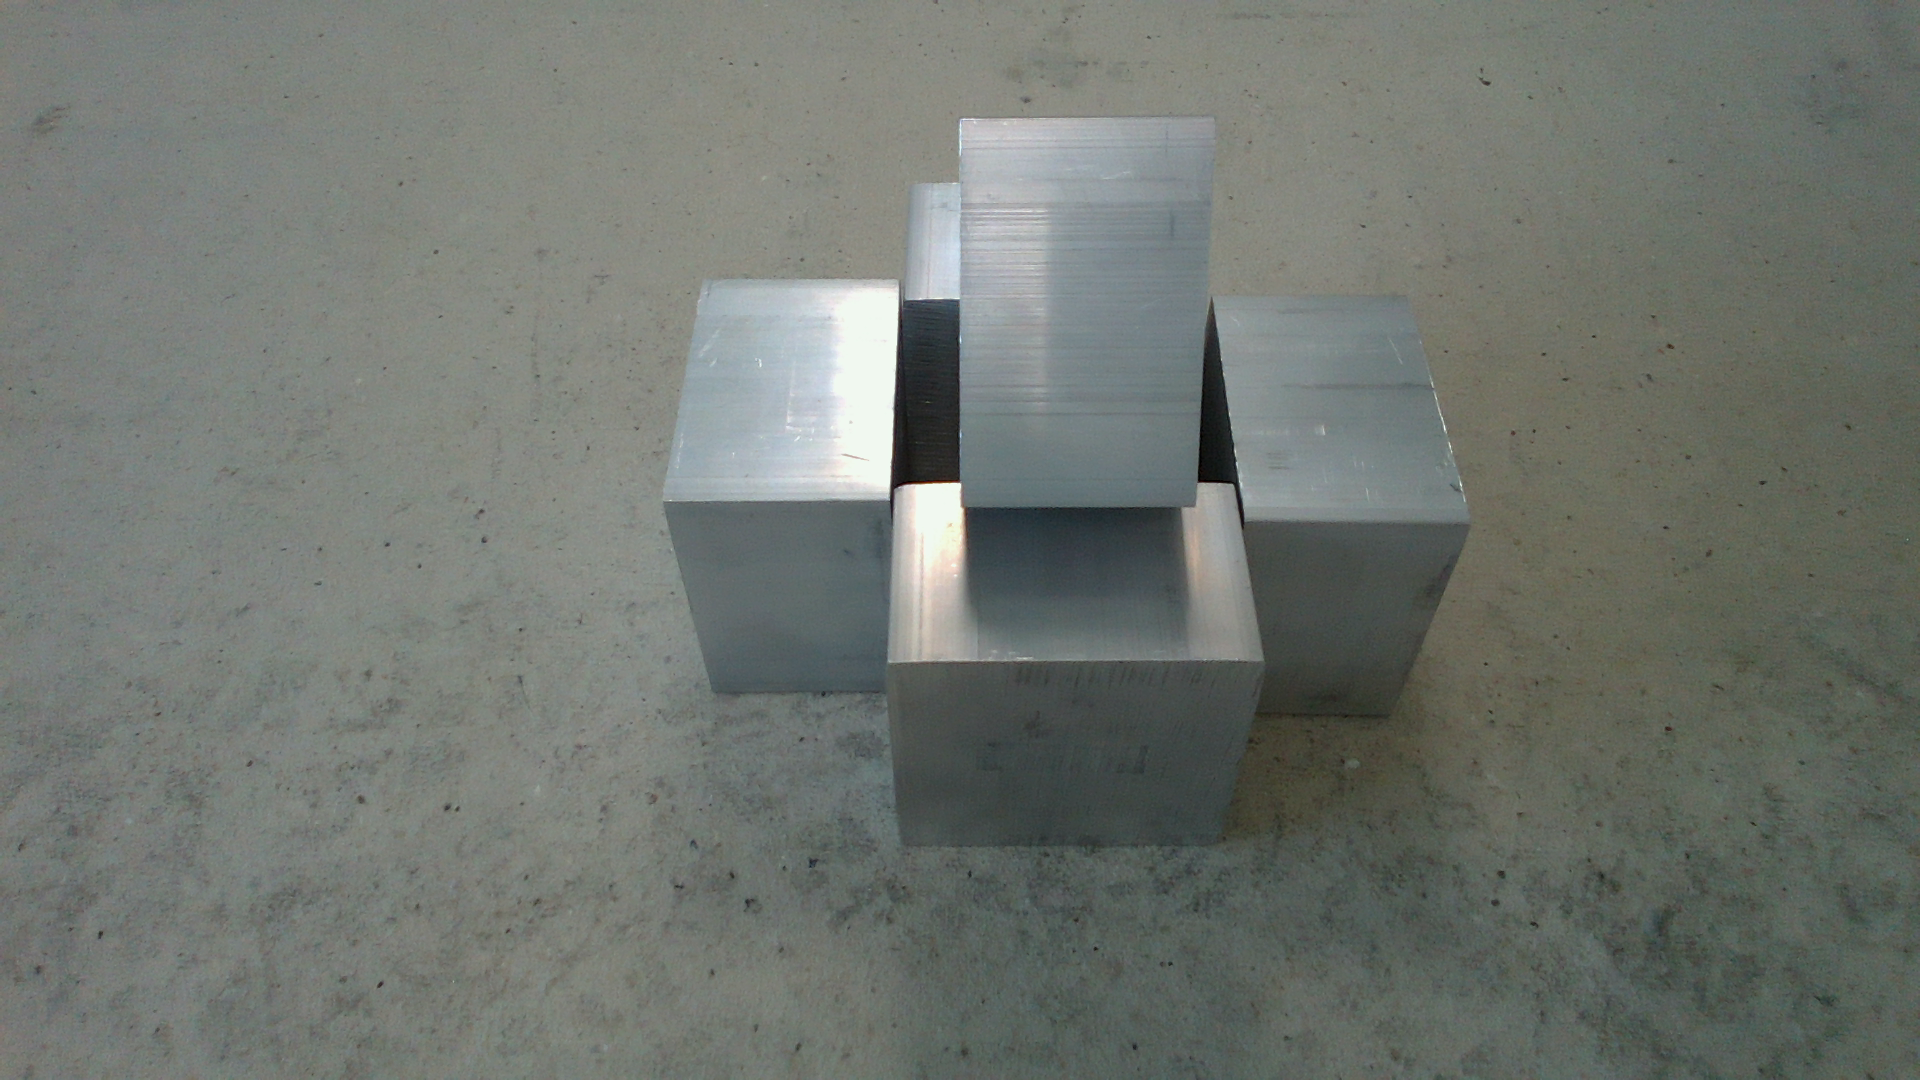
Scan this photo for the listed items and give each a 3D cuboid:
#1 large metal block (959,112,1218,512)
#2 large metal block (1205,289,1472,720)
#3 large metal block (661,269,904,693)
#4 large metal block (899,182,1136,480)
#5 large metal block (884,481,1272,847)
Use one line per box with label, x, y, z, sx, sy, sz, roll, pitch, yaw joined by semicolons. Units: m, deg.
large metal block;0.026;-0.055;0.317;0.050;0.080;0.080;1;16;1
large metal block;0.090;-0.009;0.363;0.050;0.080;0.080;1;50;1
large metal block;-0.042;-0.015;0.367;0.050;0.080;0.080;0;50;0
large metal block;0.025;-0.056;0.404;0.080;0.080;0.050;1;50;1
large metal block;0.024;0.032;0.330;0.080;0.080;0.050;0;50;0
